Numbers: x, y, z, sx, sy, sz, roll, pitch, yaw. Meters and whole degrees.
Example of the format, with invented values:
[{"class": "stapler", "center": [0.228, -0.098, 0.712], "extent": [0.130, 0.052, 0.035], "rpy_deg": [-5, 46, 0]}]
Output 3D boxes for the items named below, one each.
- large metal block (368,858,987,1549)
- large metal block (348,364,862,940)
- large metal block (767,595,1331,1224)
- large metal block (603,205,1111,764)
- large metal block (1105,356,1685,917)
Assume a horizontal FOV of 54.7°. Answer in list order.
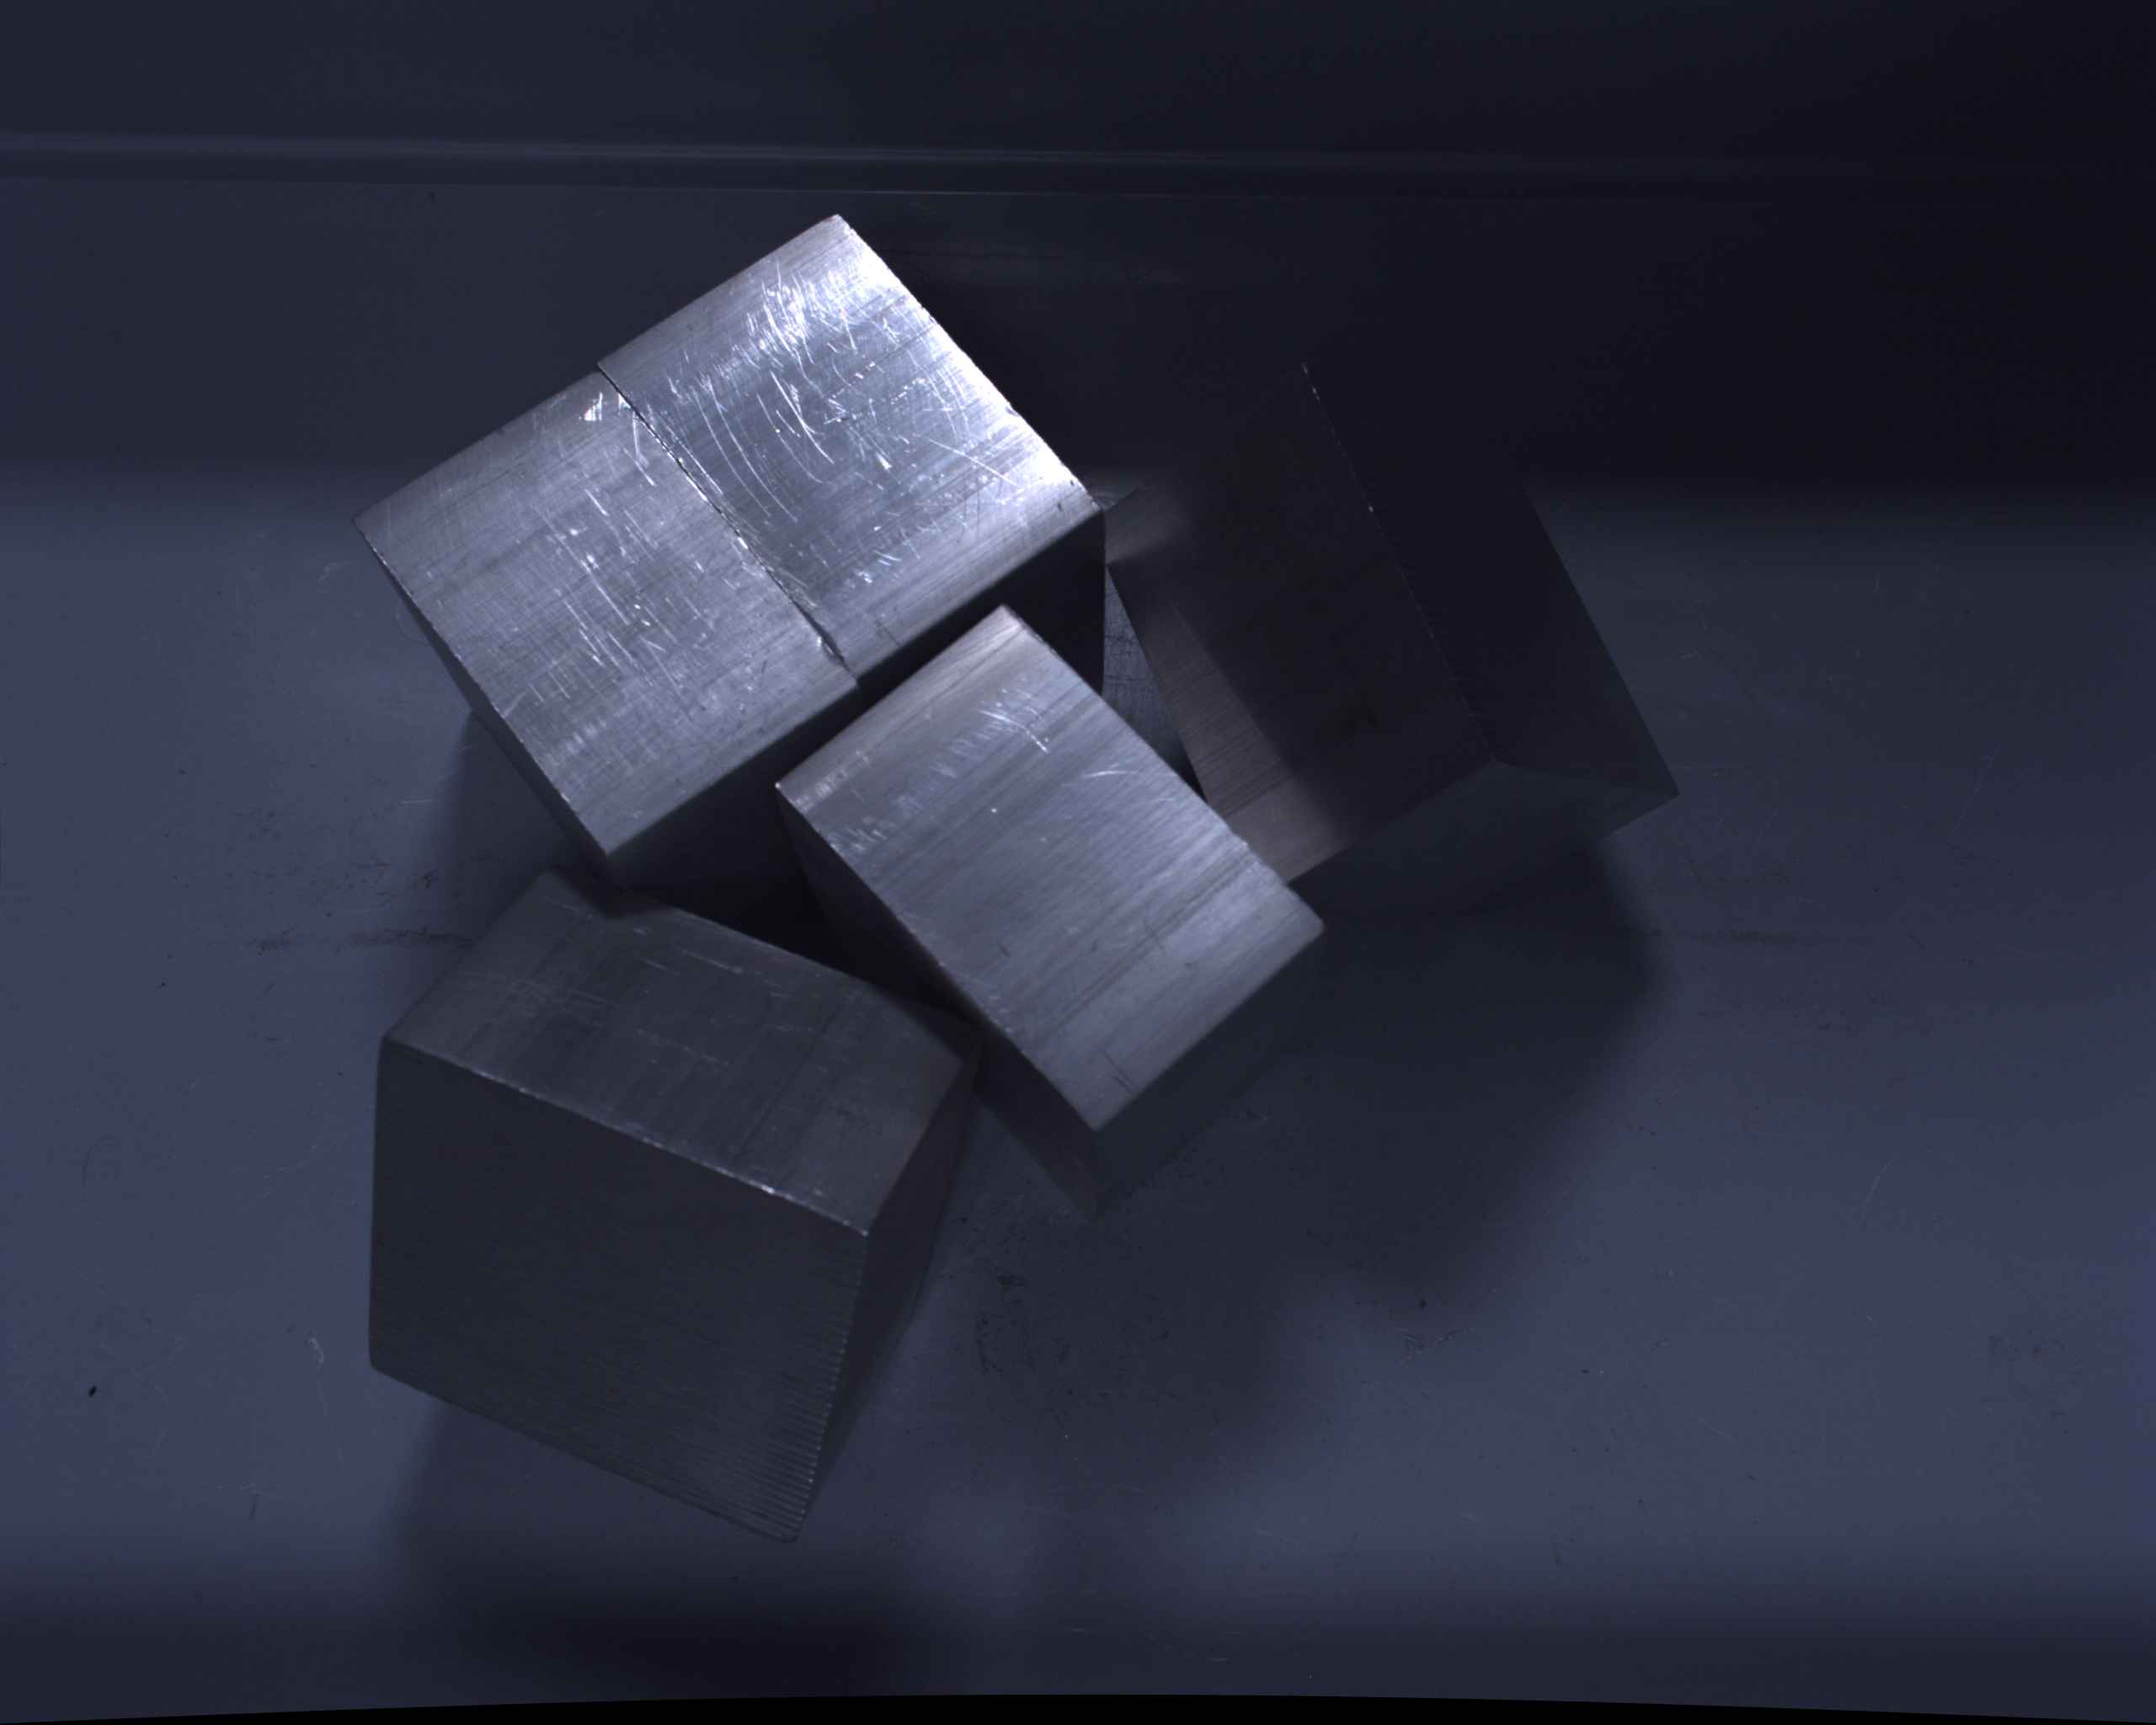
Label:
[{"class": "large metal block", "center": [-0.068, 0.057, 0.350], "extent": [0.080, 0.079, 0.050], "rpy_deg": [21, 37, 7]}, {"class": "large metal block", "center": [-0.081, -0.031, 0.390], "extent": [0.050, 0.080, 0.080], "rpy_deg": [-36, 74, -12]}, {"class": "large metal block", "center": [-0.005, 0.012, 0.374], "extent": [0.050, 0.080, 0.080], "rpy_deg": [-40, 75, -13]}, {"class": "large metal block", "center": [-0.039, -0.062, 0.401], "extent": [0.050, 0.080, 0.080], "rpy_deg": [-37, 75, -12]}, {"class": "large metal block", "center": [0.058, -0.038, 0.387], "extent": [0.050, 0.080, 0.080], "rpy_deg": [-33, 68, 31]}]
